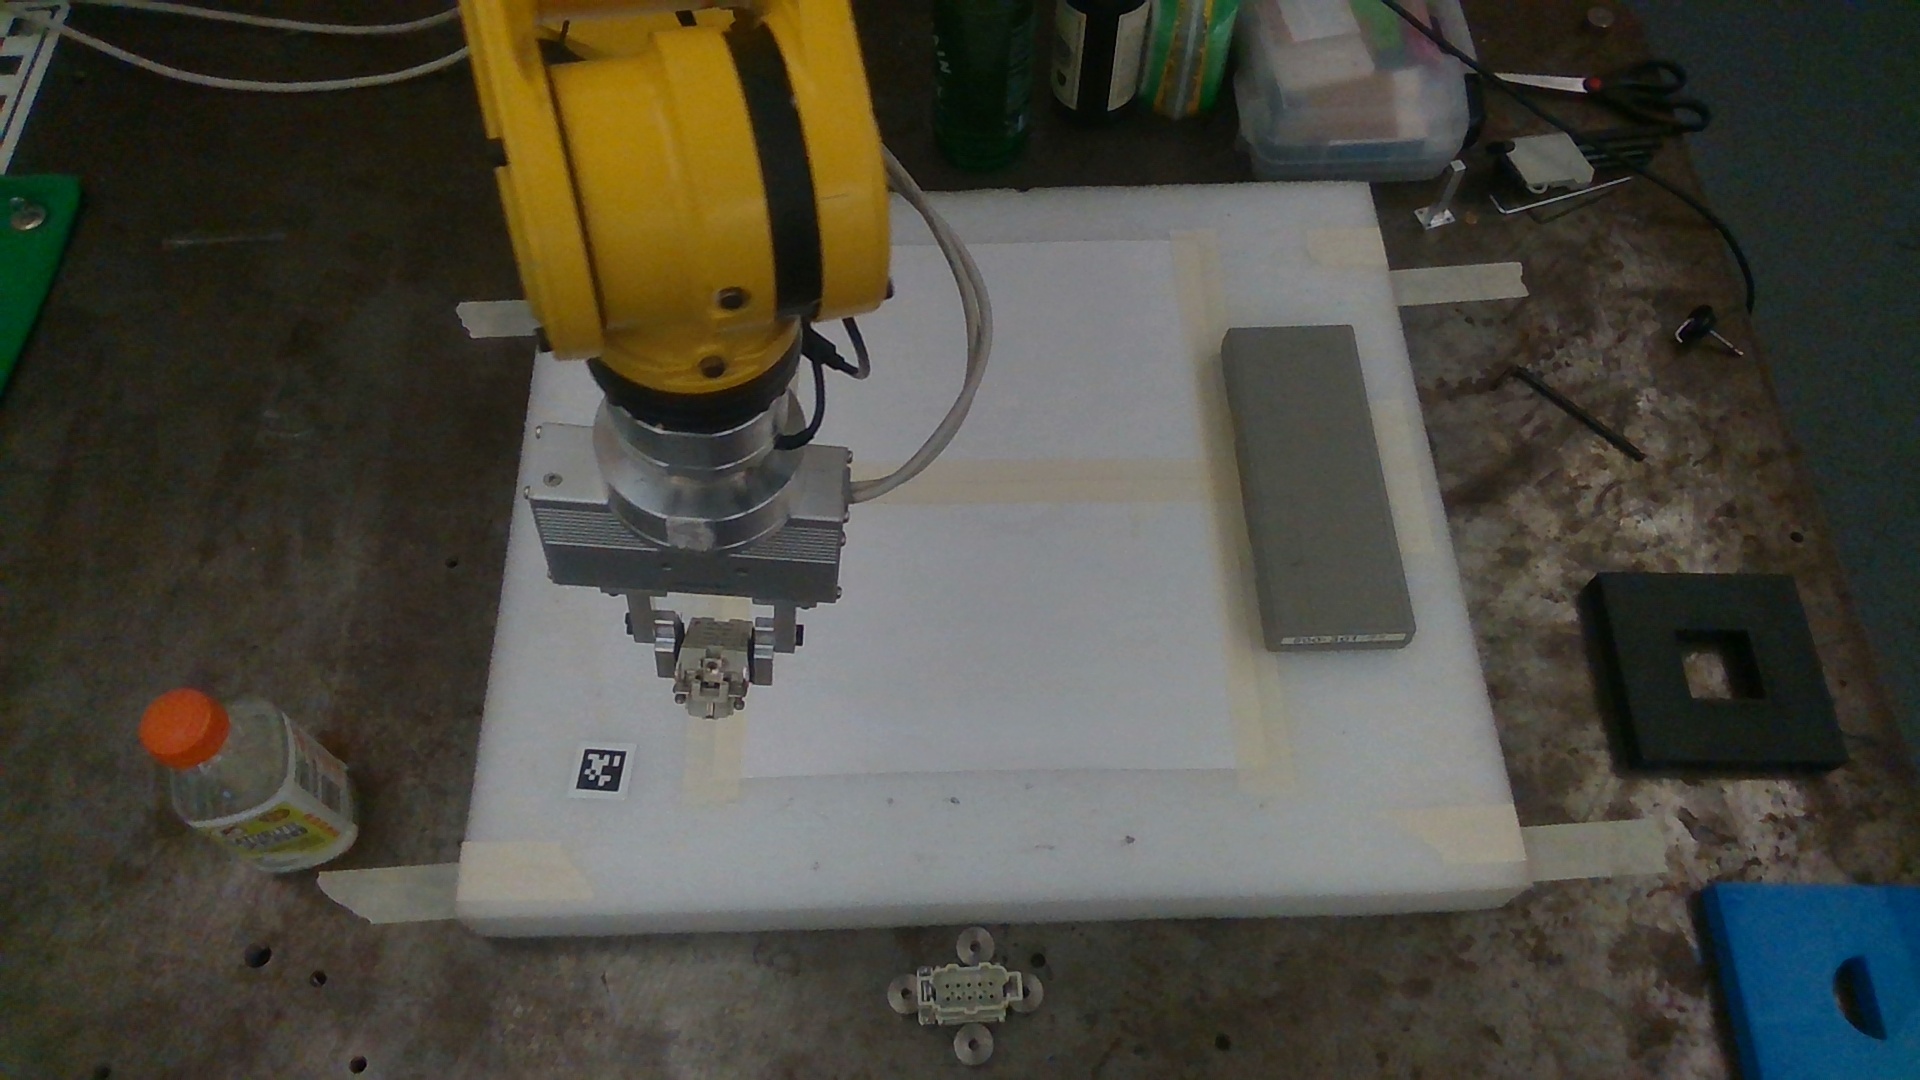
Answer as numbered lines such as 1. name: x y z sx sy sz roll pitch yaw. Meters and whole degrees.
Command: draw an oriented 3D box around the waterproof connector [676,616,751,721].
1. waterproof connector: -0.128 0.066 0.718 0.036 0.038 0.069 3 19 -10
